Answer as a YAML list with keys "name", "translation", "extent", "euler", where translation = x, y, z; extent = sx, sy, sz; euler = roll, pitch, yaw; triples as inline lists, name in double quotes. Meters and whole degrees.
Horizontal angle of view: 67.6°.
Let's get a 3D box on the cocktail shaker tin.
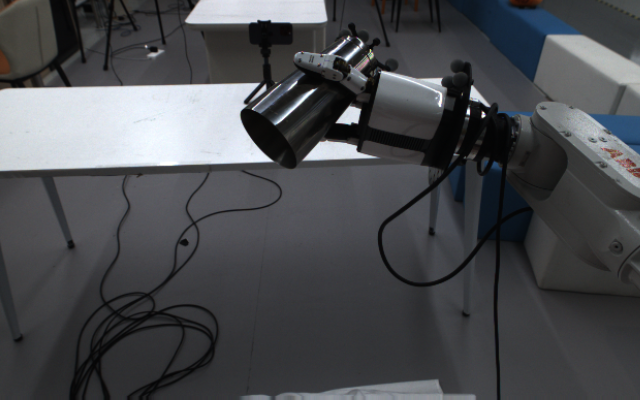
- name: "cocktail shaker tin"
  translation: [-0.006, -0.133, 0.601]
  extent: [0.093, 0.093, 0.170]
  euler: [31, 66, 35]
